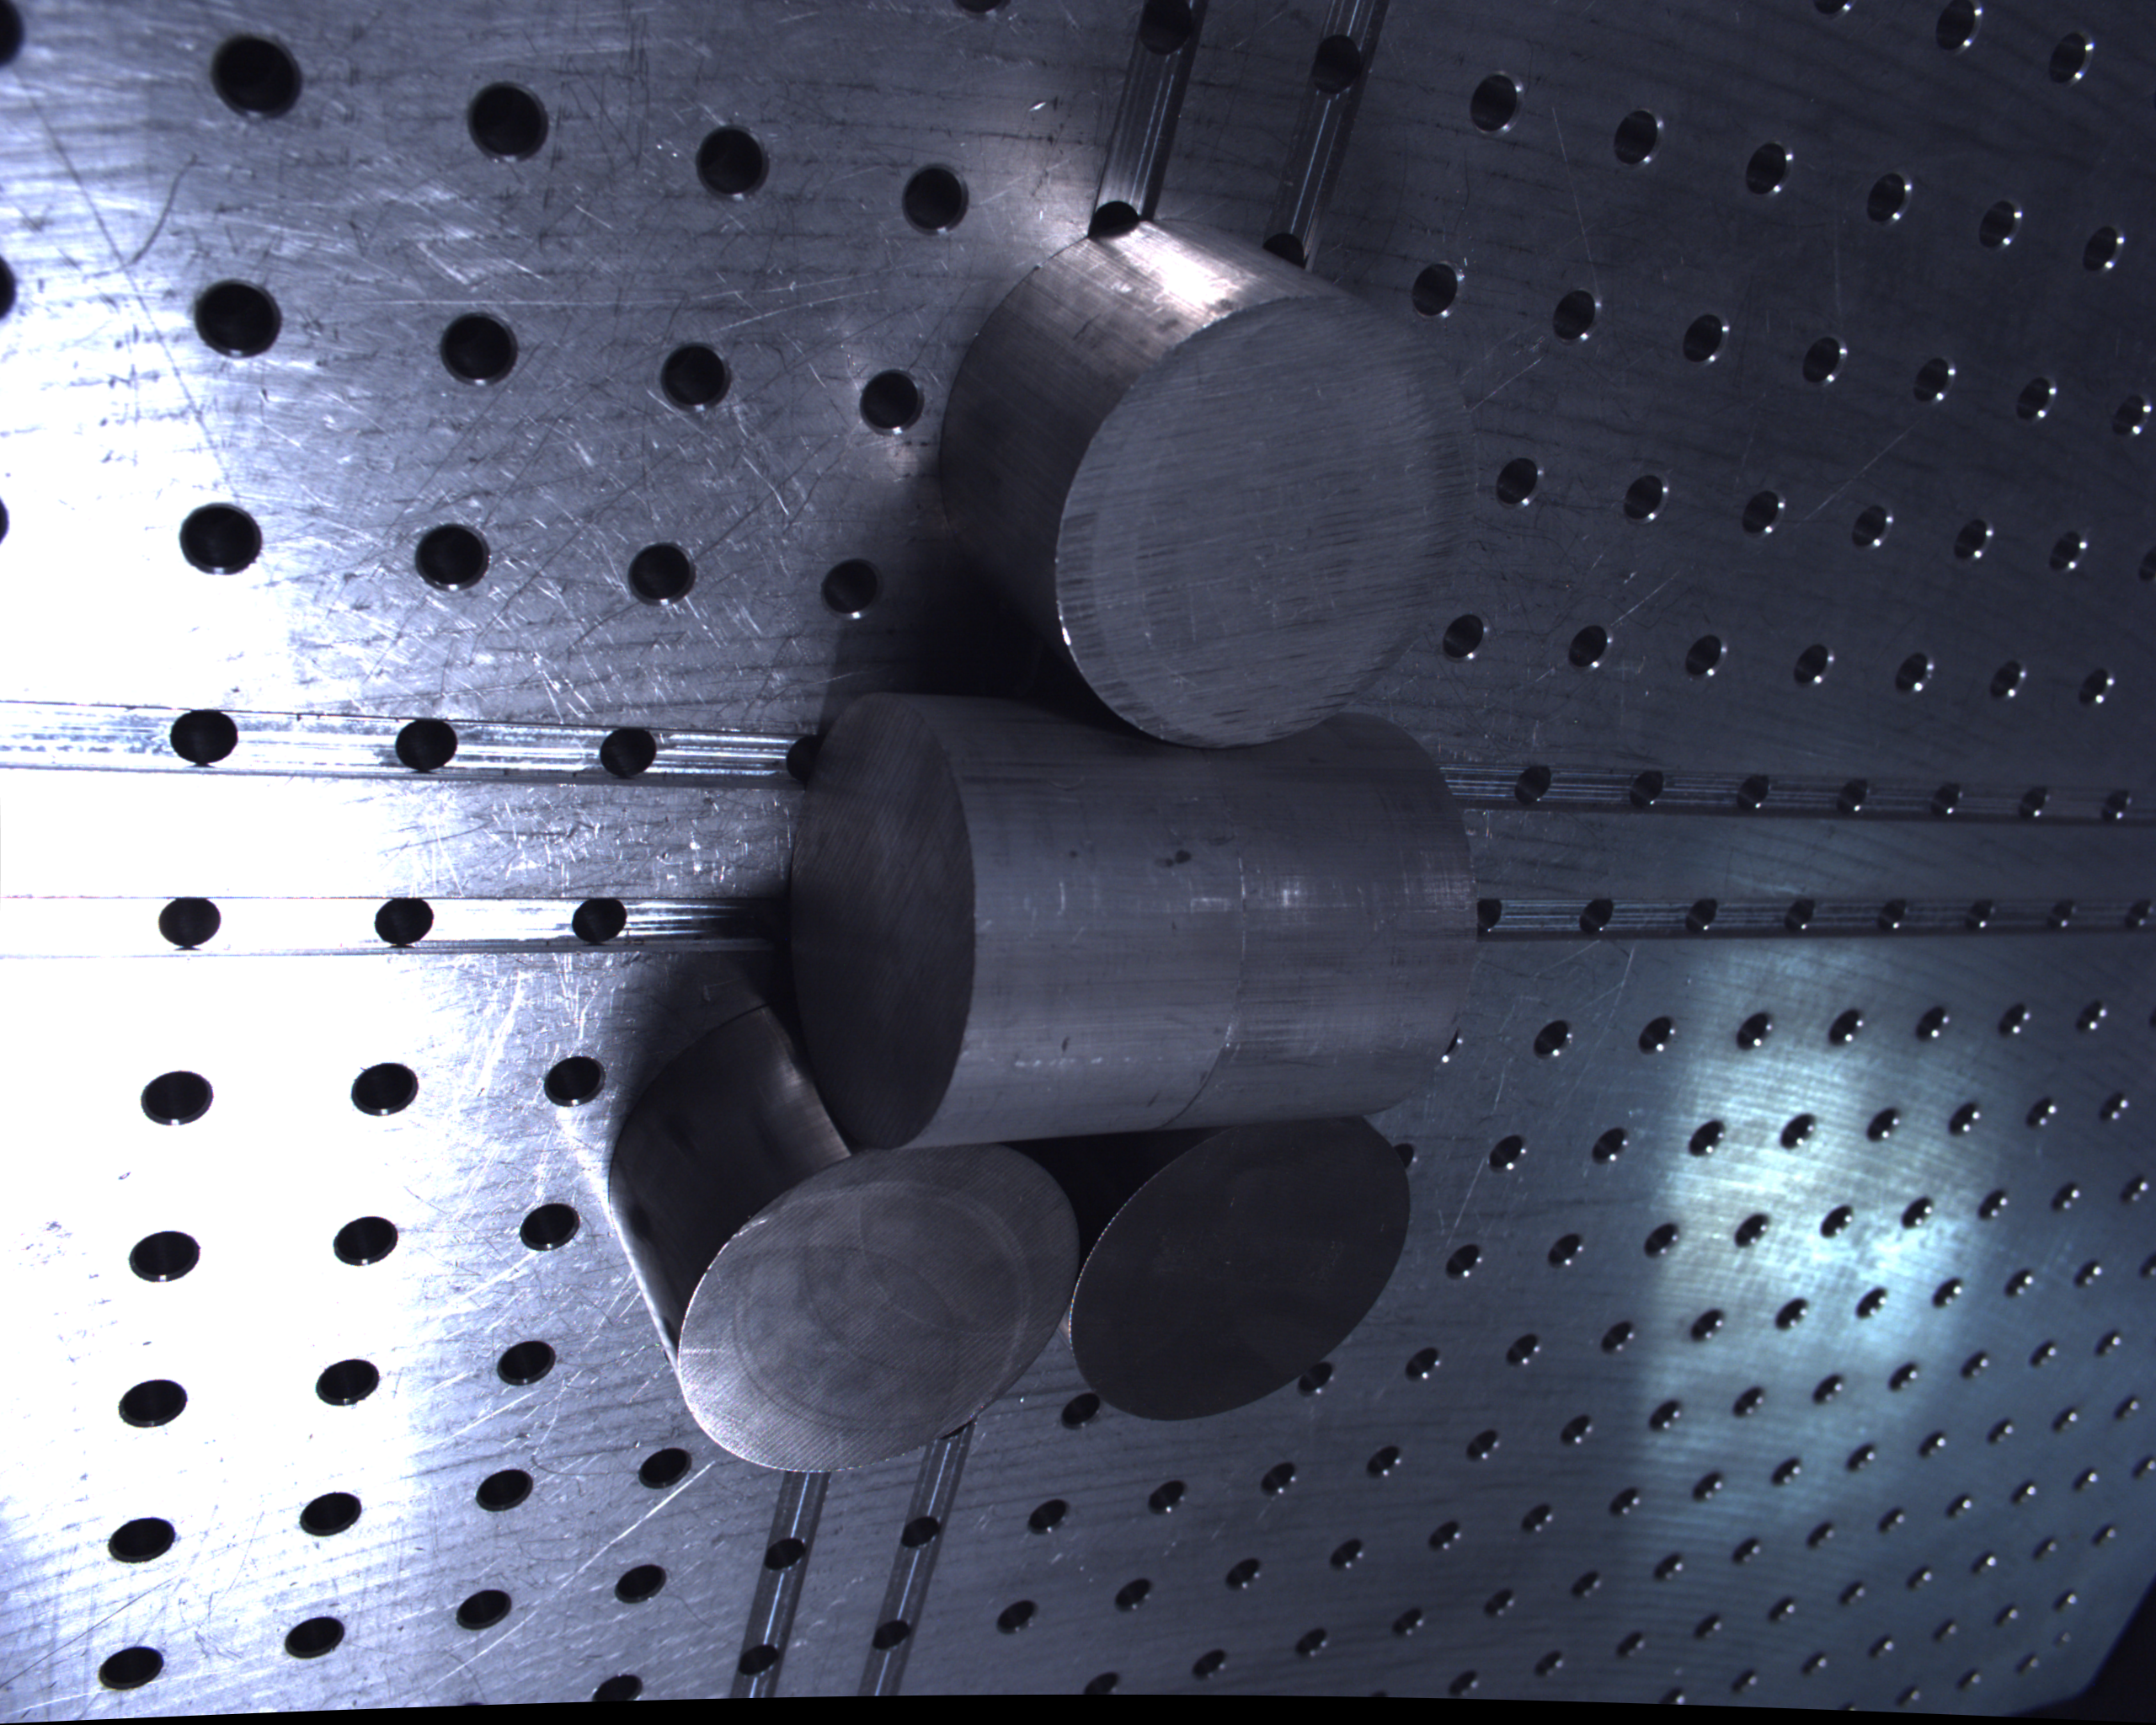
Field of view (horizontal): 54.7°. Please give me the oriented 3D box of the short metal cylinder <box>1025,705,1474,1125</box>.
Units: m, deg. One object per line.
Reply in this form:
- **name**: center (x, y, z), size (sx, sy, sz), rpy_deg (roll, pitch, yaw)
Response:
- **short metal cylinder**: center (0.030, 0.009, 0.400), size (0.050, 0.080, 0.079), rpy_deg (0, 118, -29)

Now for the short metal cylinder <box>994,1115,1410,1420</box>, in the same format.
- **short metal cylinder**: center (0.024, 0.073, 0.454), size (0.081, 0.050, 0.079), rpy_deg (-14, 125, -21)

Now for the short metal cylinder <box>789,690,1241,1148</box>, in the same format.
- **short metal cylinder**: center (-0.014, 0.010, 0.376), size (0.050, 0.080, 0.079), rpy_deg (0, 118, -29)

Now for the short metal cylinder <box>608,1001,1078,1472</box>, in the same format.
- **short metal cylinder**: center (-0.047, 0.073, 0.415), size (0.081, 0.050, 0.079), rpy_deg (-14, 125, -21)

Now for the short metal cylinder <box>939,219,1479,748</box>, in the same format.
- **short metal cylinder**: center (0.022, -0.067, 0.367), size (0.081, 0.050, 0.079), rpy_deg (-14, 125, -21)
